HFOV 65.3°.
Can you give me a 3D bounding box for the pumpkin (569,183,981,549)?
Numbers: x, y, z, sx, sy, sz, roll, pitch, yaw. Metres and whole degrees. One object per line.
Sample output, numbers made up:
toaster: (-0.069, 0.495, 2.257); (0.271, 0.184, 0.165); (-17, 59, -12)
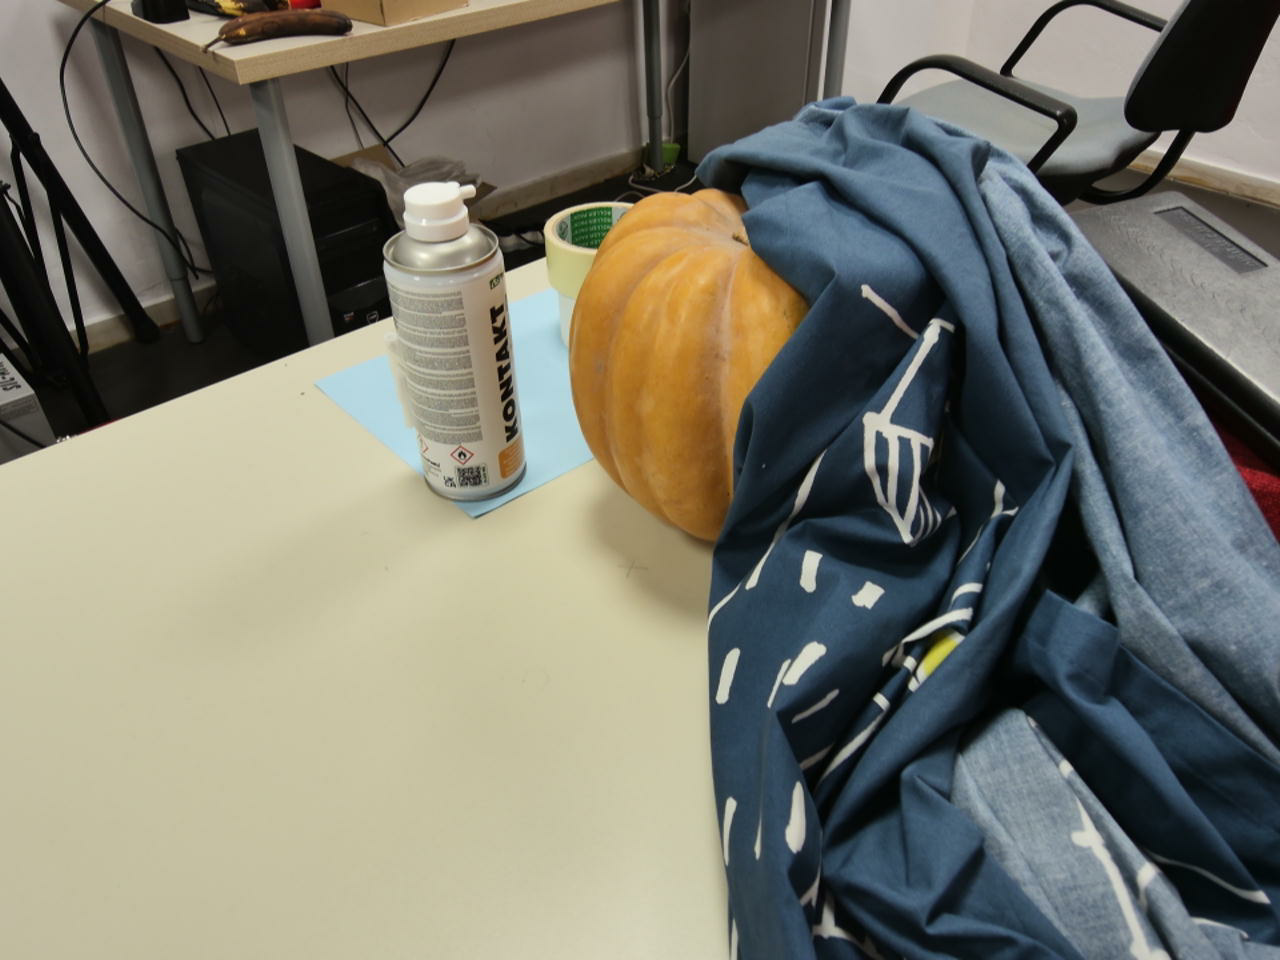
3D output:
pumpkin: (0.072, -0.066, 0.564); (0.230, 0.194, 0.230); (0, 37, 0)
